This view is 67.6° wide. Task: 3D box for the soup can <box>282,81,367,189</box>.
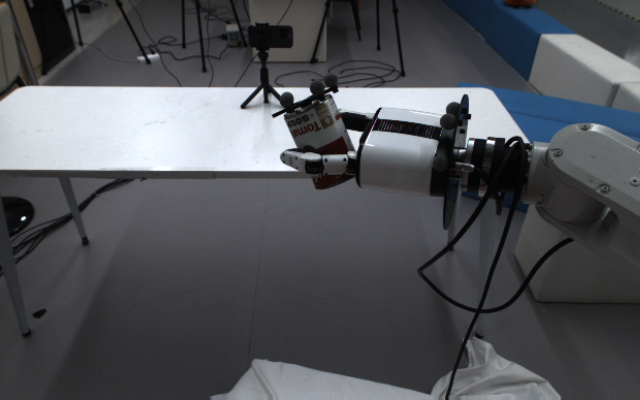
[{"bbox_3d":[0.006,-0.073,0.613,0.067,0.101,0.067,-23,16,7],"label":"soup can"}]
